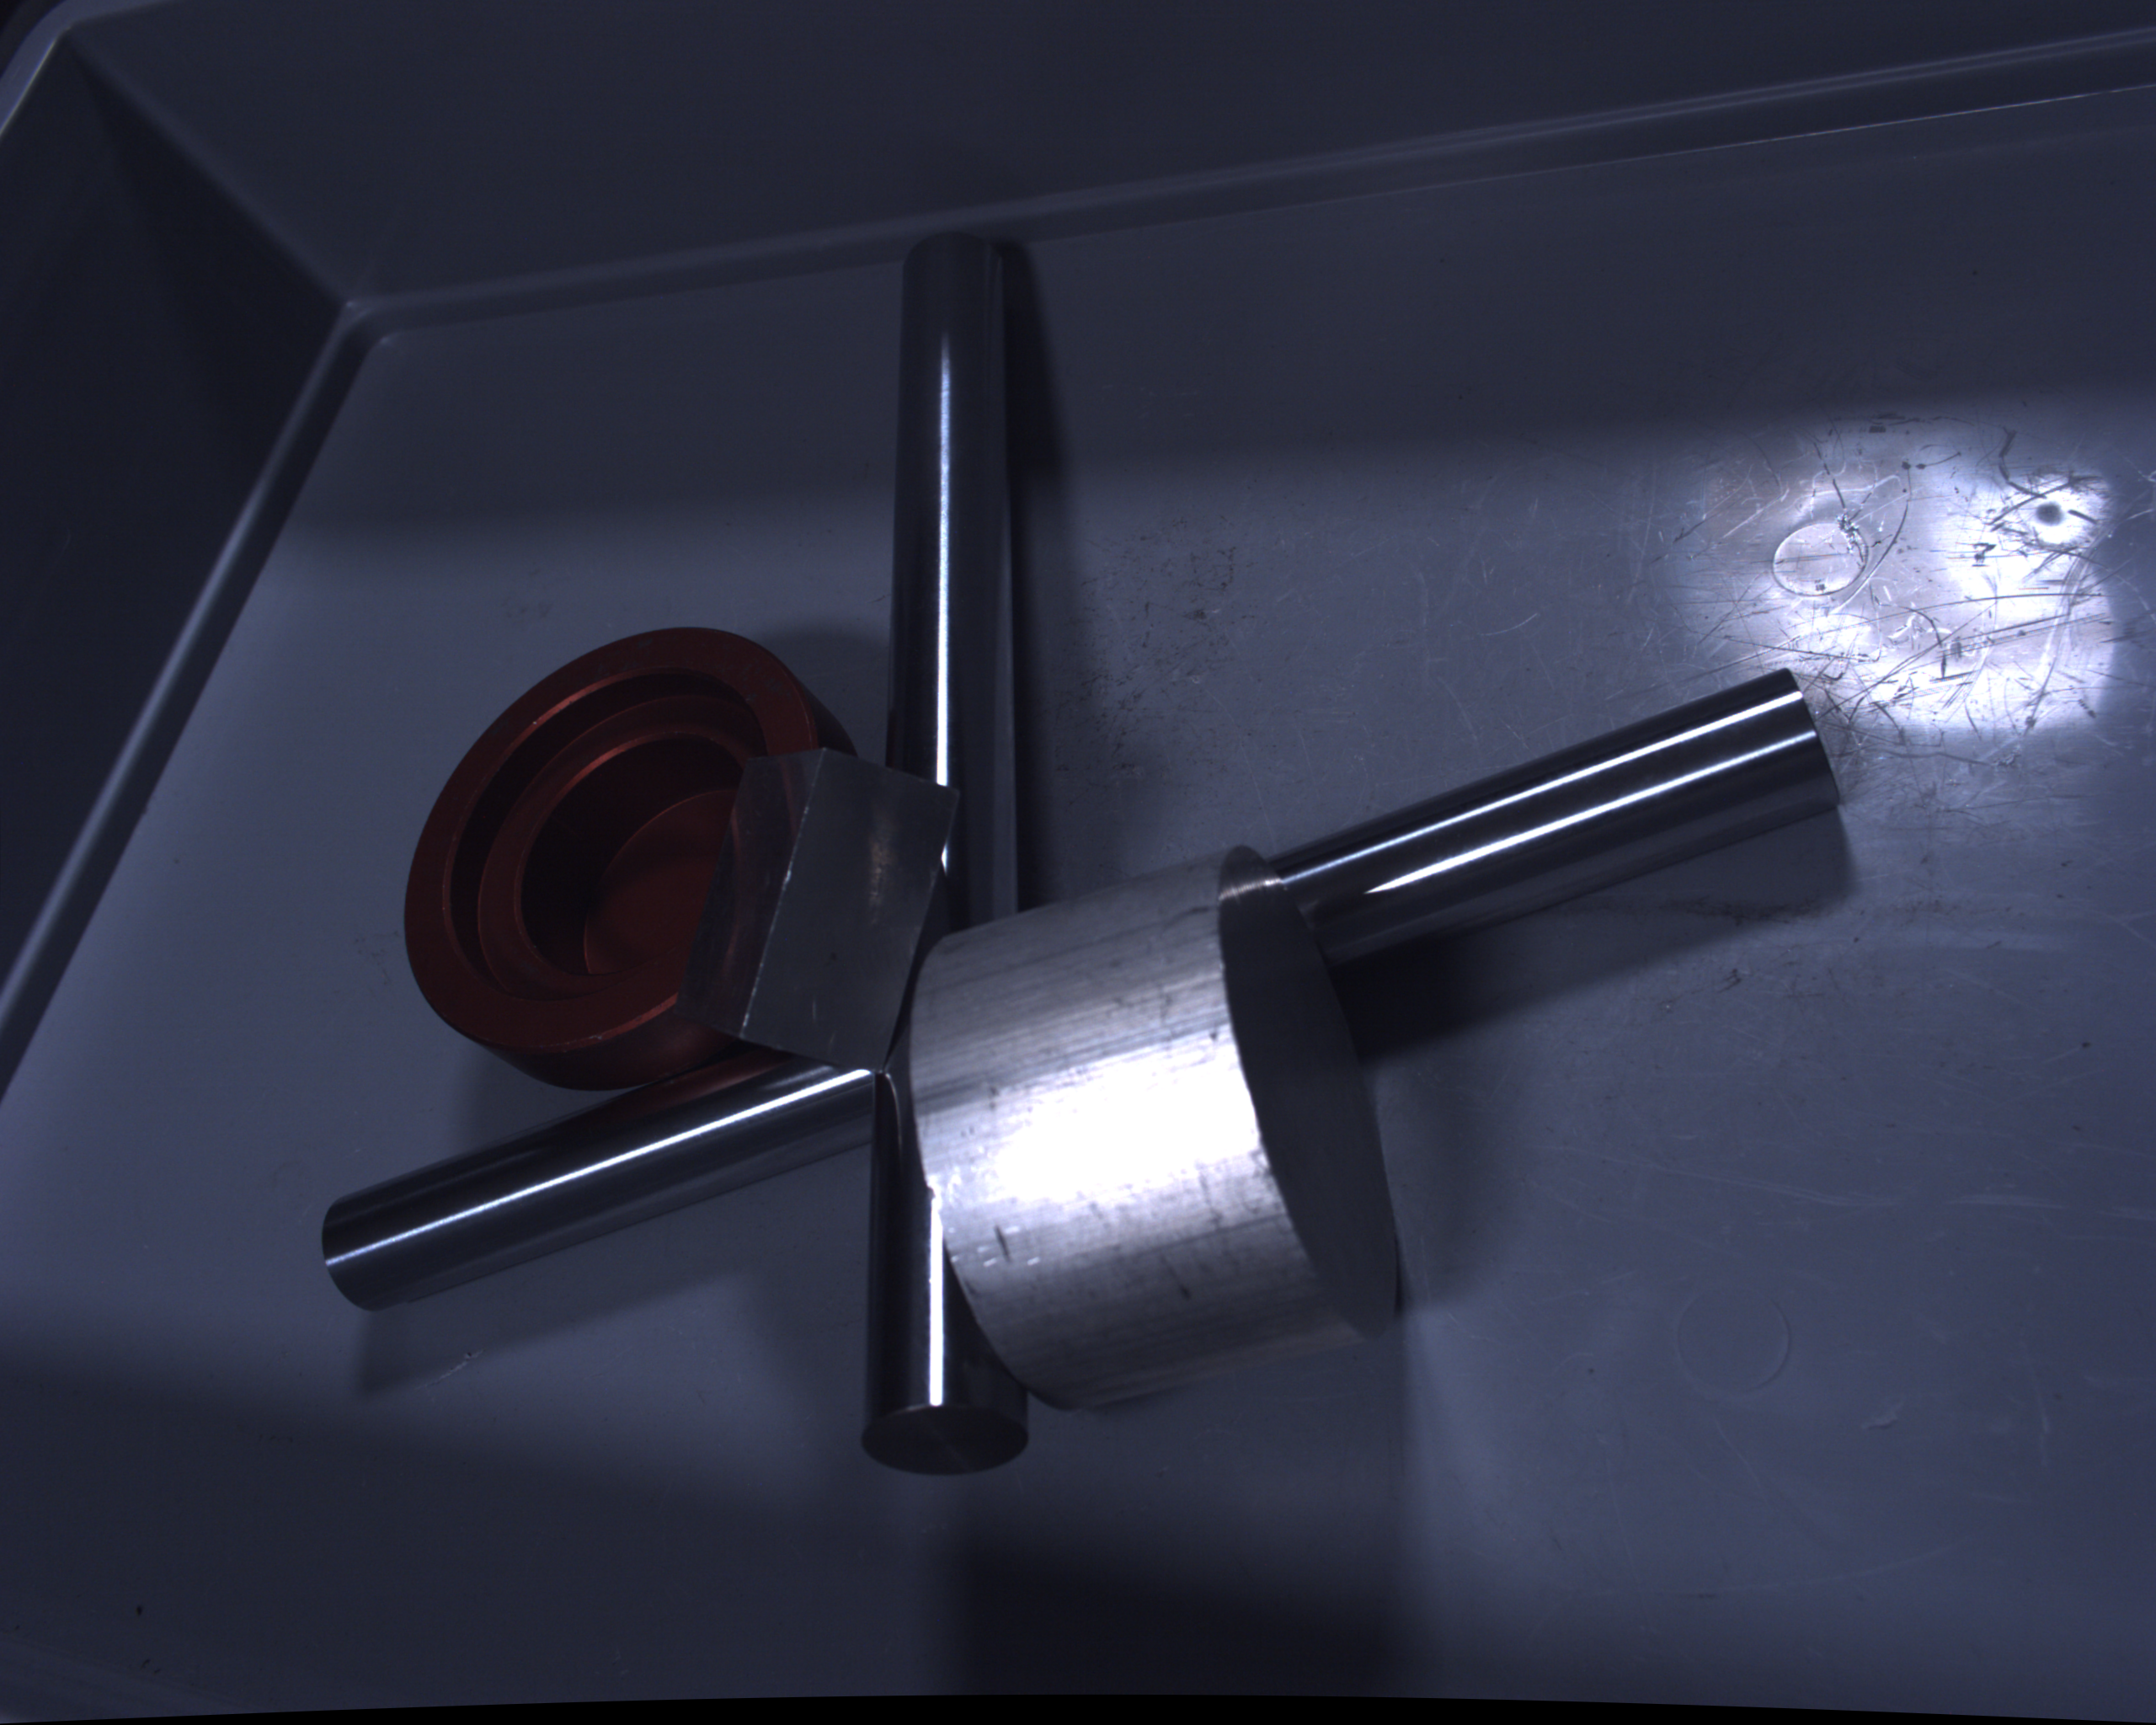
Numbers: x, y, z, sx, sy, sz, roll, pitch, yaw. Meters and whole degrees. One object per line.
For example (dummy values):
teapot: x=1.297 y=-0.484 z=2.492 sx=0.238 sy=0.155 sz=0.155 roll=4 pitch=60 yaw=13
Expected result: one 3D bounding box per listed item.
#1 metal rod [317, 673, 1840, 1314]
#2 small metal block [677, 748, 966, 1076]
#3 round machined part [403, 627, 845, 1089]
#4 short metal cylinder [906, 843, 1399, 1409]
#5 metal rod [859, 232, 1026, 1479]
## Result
metal rod: x=-0.012 y=0.030 z=0.390 sx=0.301 sy=0.025 sz=0.025 roll=-20 pitch=54 yaw=15
small metal block: x=-0.047 y=0.008 z=0.369 sx=0.050 sy=0.025 sz=0.050 roll=2 pitch=76 yaw=66
round machined part: x=-0.087 y=0.002 z=0.436 sx=0.098 sy=0.042 sz=0.098 roll=-13 pitch=56 yaw=20
short metal cylinder: x=0.014 y=0.042 z=0.334 sx=0.050 sy=0.080 sz=0.080 roll=-18 pitch=55 yaw=18
metal rod: x=-0.025 y=-0.027 z=0.409 sx=0.025 sy=0.025 sz=0.300 roll=-18 pitch=48 yaw=18
